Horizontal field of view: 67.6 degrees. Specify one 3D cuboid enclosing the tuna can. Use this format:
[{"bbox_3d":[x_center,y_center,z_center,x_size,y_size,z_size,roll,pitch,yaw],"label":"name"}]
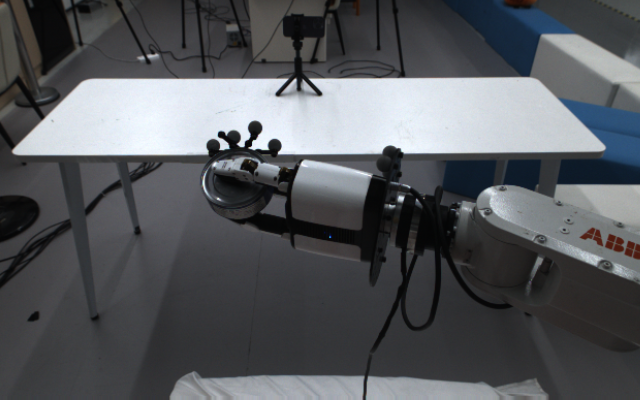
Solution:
[{"bbox_3d":[-0.098,-0.016,0.587,0.085,0.034,0.085,-1,58,2],"label":"tuna can"}]
